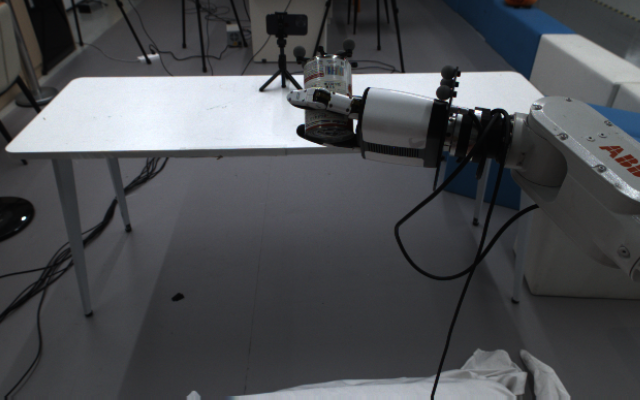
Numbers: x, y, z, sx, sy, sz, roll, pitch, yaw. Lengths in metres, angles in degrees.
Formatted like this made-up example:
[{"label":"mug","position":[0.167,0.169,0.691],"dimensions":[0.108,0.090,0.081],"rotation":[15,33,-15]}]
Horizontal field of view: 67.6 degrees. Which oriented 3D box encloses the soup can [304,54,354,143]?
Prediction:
[{"label":"soup can","position":[0.012,-0.136,0.657],"dimensions":[0.067,0.101,0.067],"rotation":[-1,-9,0]}]
